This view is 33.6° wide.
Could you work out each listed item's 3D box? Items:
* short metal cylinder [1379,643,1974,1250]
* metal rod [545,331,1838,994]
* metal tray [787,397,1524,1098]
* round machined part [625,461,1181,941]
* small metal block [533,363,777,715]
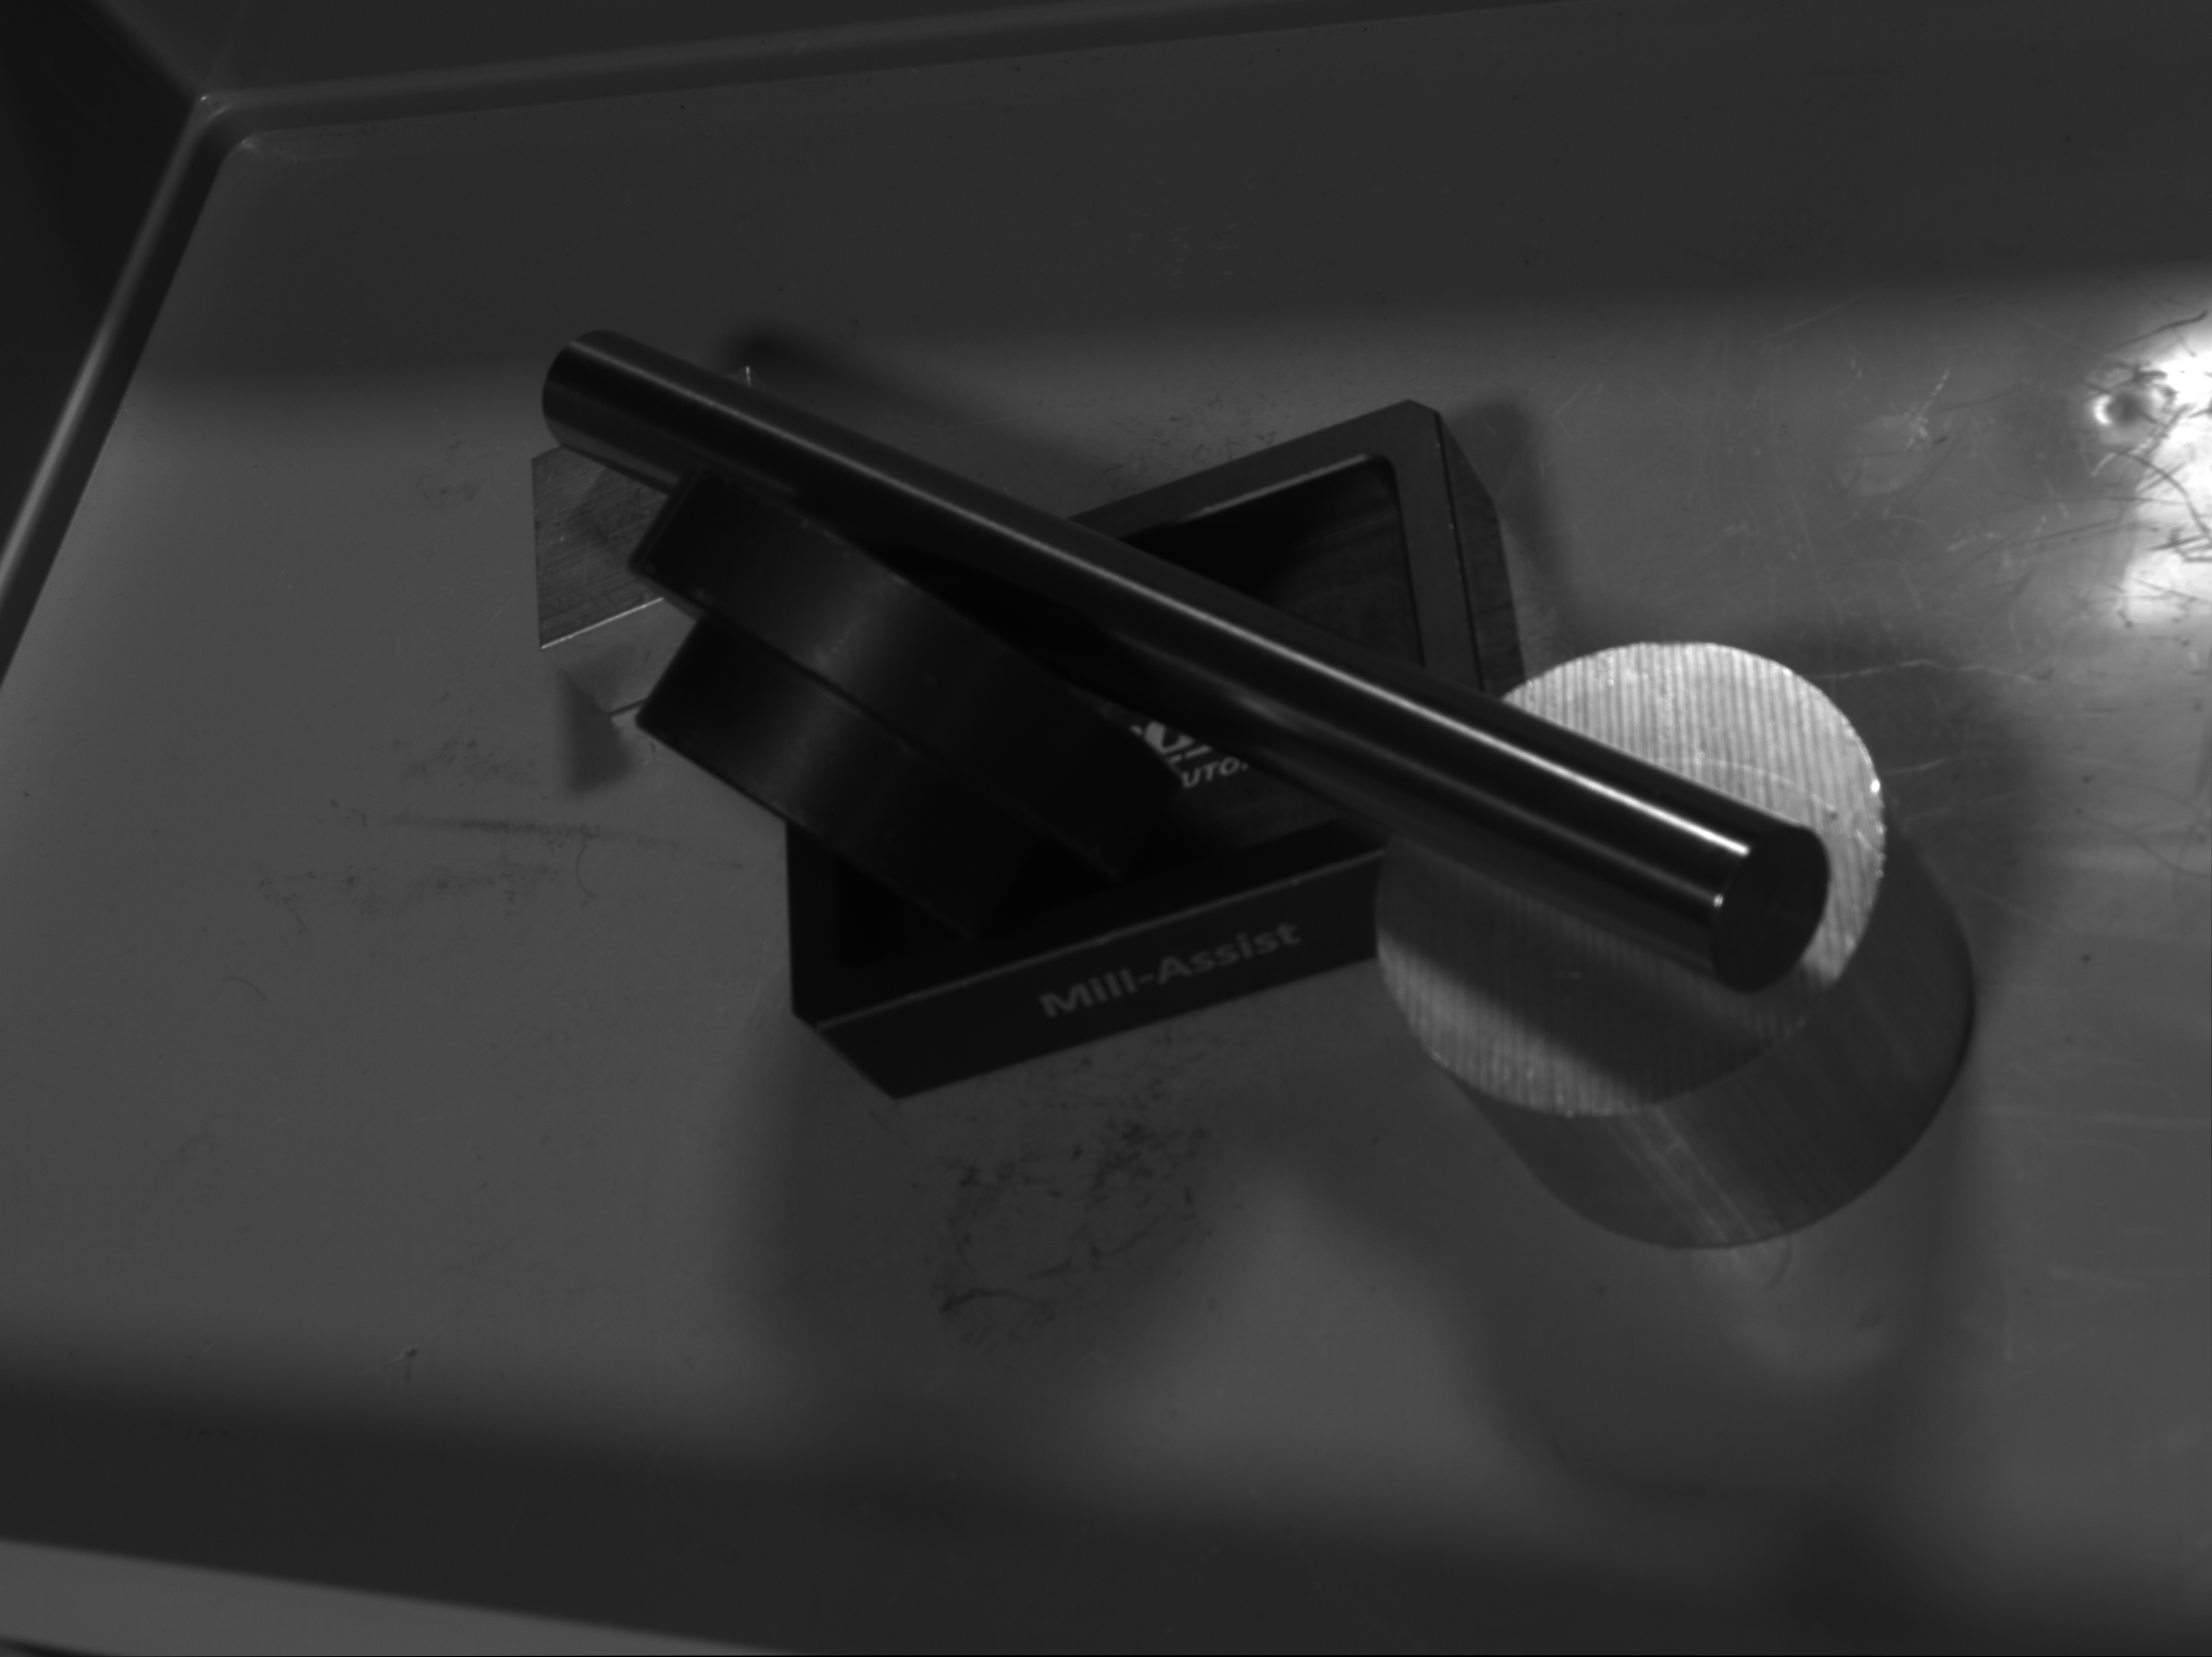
[{"bbox_3d":[0.089,0.018,0.568,0.080,0.050,0.080,-13,56,21],"label":"short metal cylinder"},{"bbox_3d":[-0.003,-0.037,0.614,0.299,0.025,0.025,27,76,44],"label":"metal rod"},{"bbox_3d":[0.008,-0.014,0.643,0.130,0.030,0.090,-18,54,18],"label":"metal tray"},{"bbox_3d":[-0.039,-0.017,0.610,0.098,0.098,0.042,31,87,38],"label":"round machined part"},{"bbox_3d":[-0.084,-0.057,0.724,0.050,0.025,0.050,-20,54,16],"label":"small metal block"}]
